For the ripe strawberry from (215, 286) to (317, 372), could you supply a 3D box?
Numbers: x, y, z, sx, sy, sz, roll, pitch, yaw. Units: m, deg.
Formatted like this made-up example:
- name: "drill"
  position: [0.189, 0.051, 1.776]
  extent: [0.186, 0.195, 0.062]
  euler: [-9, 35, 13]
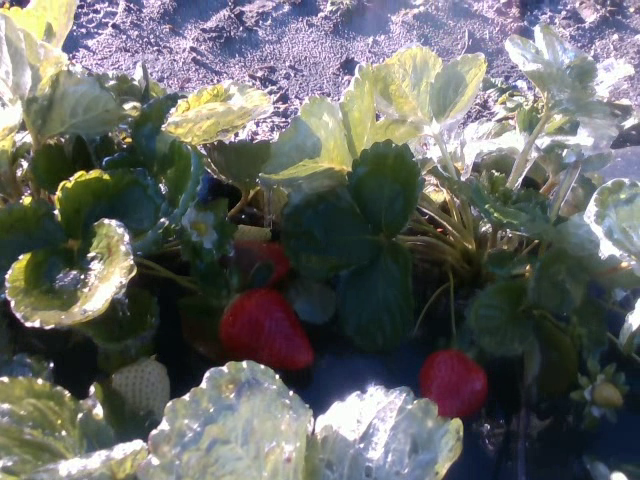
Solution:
- name: "ripe strawberry"
  position: [-0.025, 0.046, 0.308]
  extent: [0.044, 0.056, 0.040]
  euler: [-41, -17, -27]

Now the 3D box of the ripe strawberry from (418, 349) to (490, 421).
- name: "ripe strawberry"
  position: [0.064, 0.072, 0.290]
  extent: [0.039, 0.040, 0.047]
  euler: [31, 49, 10]
